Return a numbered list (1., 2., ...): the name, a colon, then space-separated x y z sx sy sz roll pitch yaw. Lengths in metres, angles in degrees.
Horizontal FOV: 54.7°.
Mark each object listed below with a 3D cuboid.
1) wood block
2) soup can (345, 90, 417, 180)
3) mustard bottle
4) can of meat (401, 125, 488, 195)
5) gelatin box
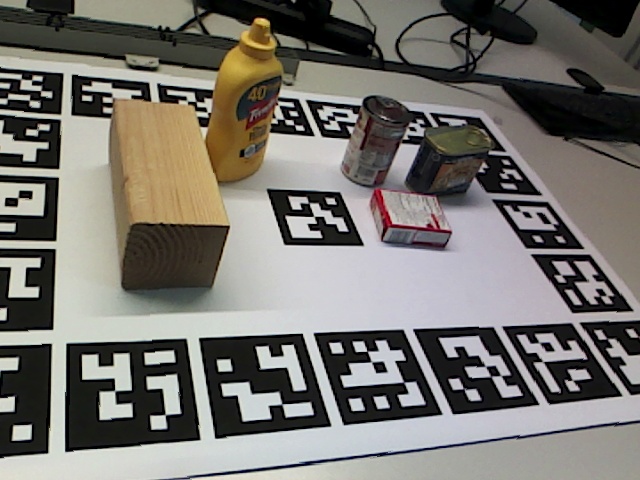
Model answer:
1. wood block: -0.163 -0.054 0.654 0.090 0.090 0.207 2 39 -23
2. soup can: 0.080 -0.139 0.831 0.068 0.102 0.068 11 42 -11
3. mustard bottle: -0.088 -0.159 0.733 0.096 0.191 0.059 -21 54 -41
4. can of meat: 0.171 -0.109 0.864 0.101 0.084 0.058 -9 48 -34
5. gelatin box: 0.120 -0.029 0.785 0.089 0.030 0.073 6 43 -13
